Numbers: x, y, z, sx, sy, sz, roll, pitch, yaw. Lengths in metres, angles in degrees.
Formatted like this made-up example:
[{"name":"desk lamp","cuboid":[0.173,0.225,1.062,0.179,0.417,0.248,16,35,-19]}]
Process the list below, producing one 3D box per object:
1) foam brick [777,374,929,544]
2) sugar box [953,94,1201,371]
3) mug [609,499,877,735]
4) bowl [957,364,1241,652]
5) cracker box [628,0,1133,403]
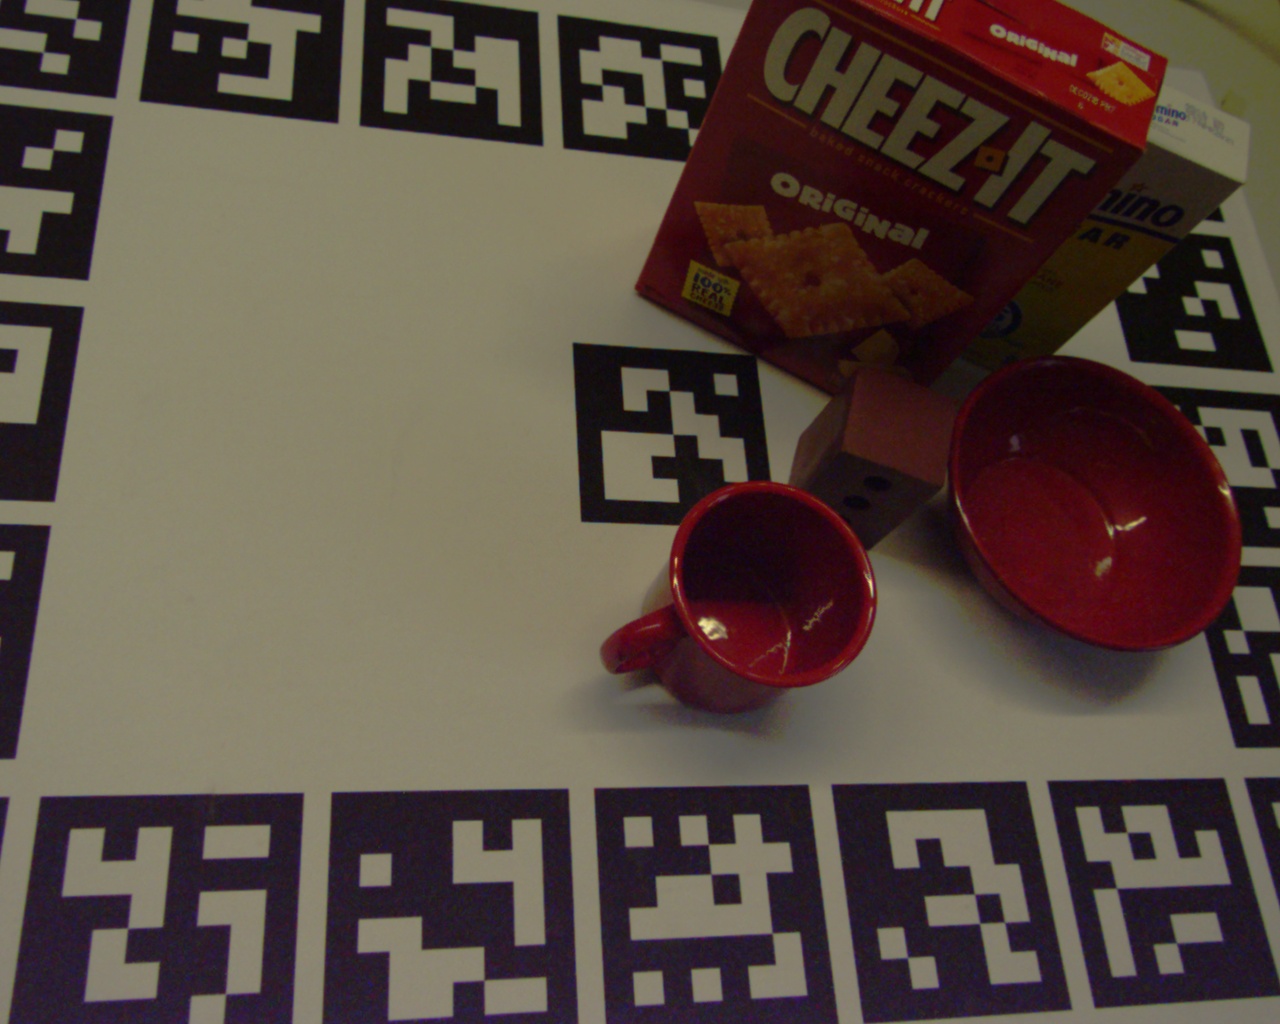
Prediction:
[{"name":"foam brick","cuboid":[0.110,-0.025,0.597,0.052,0.078,0.051,15,63,-7]},{"name":"sugar box","cuboid":[0.204,-0.151,0.616,0.092,0.177,0.045,20,63,-5]},{"name":"mug","cuboid":[0.042,0.056,0.532,0.116,0.081,0.094,-9,61,-16]},{"name":"bowl","cuboid":[0.232,0.003,0.610,0.161,0.055,0.162,5,66,-12]},{"name":"cracker box","cuboid":[0.103,-0.147,0.569,0.164,0.214,0.072,28,60,-2]}]
